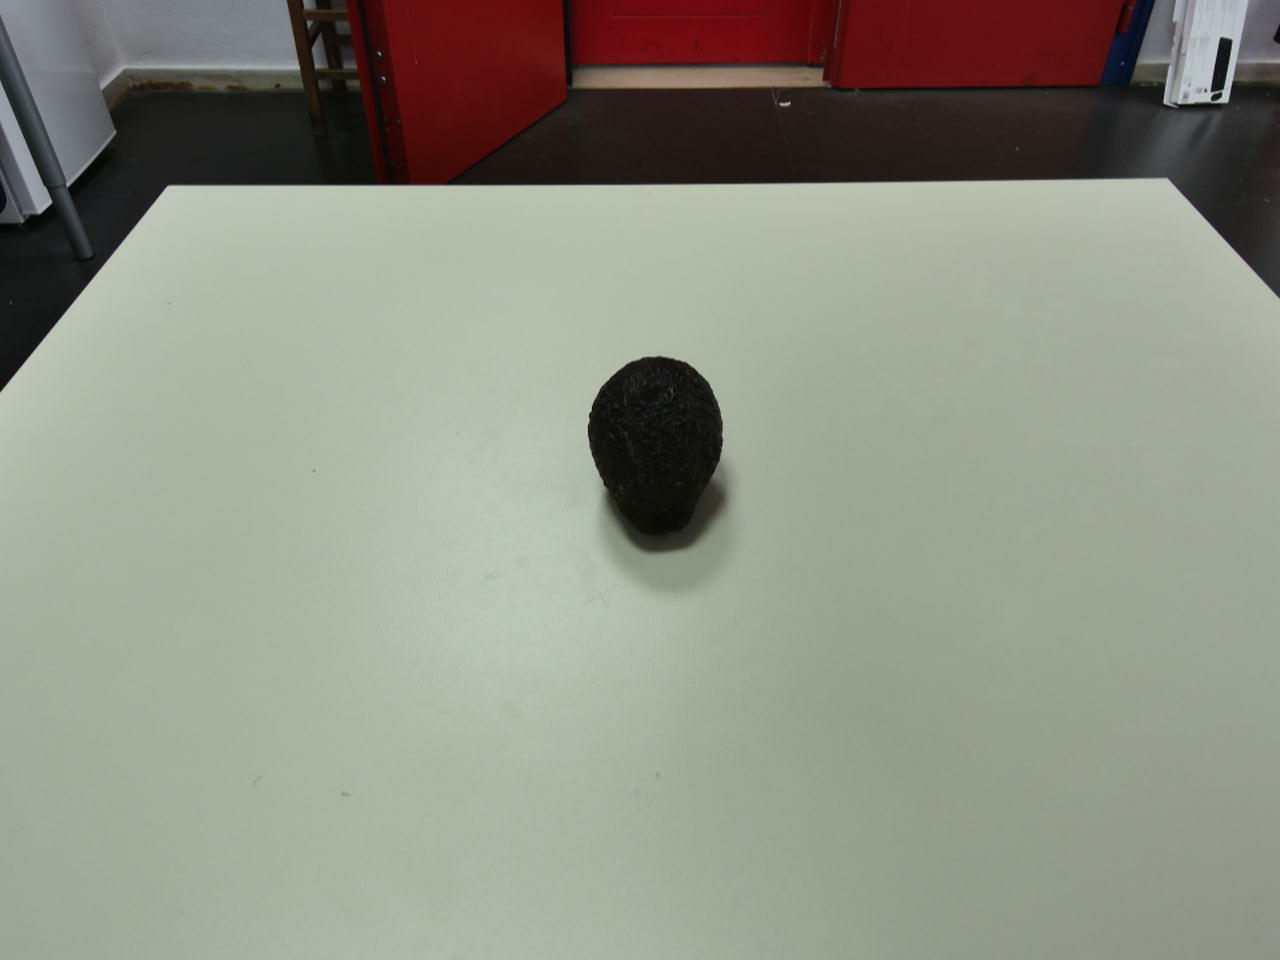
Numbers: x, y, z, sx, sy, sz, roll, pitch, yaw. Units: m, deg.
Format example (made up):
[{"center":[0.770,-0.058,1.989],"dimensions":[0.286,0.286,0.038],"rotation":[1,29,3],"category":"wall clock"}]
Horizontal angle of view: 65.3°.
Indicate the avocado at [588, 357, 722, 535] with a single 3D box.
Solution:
[{"center":[0.006,-0.022,0.511],"dimensions":[0.070,0.069,0.090],"rotation":[16,42,19],"category":"avocado"}]
